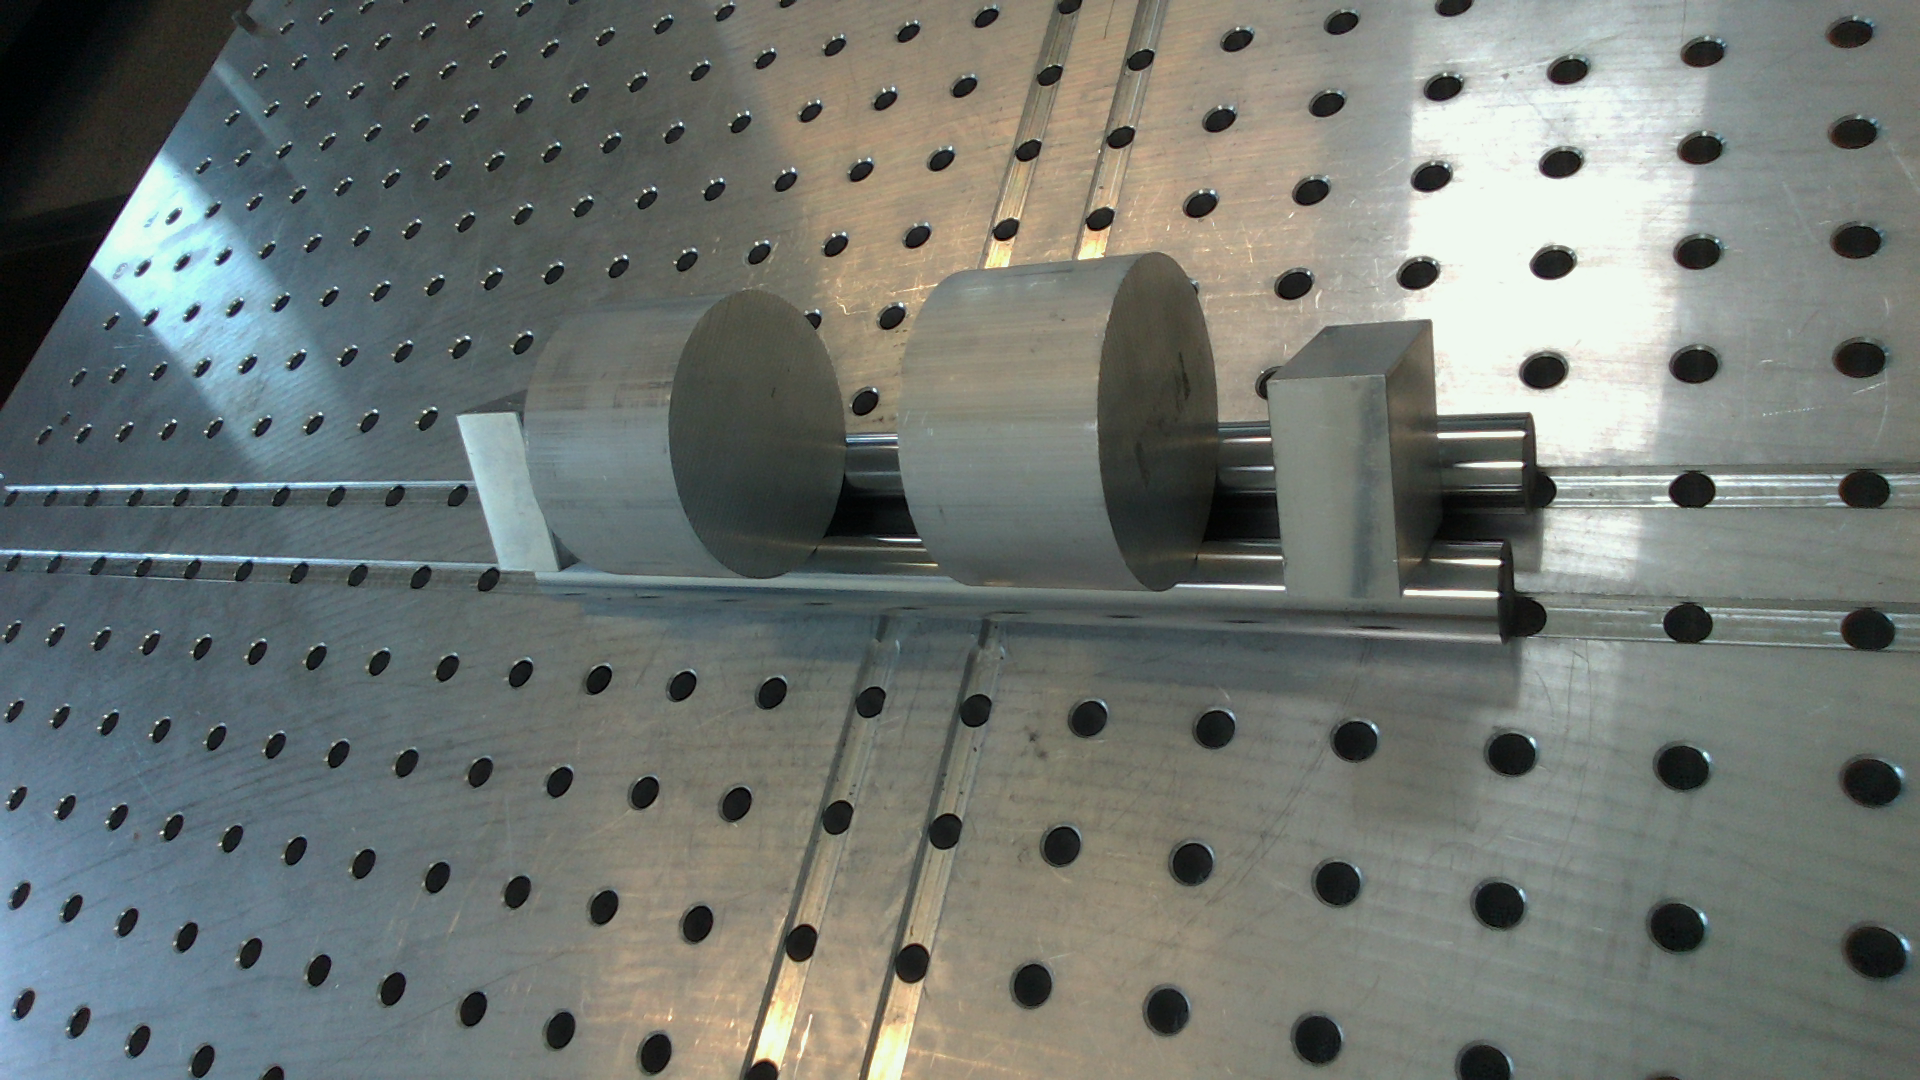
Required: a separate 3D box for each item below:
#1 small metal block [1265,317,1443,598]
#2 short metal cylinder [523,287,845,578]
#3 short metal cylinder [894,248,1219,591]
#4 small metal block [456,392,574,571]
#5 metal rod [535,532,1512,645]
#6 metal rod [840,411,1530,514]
[{"bbox_3d":[0.091,-0.020,0.314,0.025,0.050,0.050,0,21,29],"label":"small metal block"},{"bbox_3d":[-0.076,-0.030,0.392,0.050,0.080,0.080,1,62,29],"label":"short metal cylinder"},{"bbox_3d":[0.026,-0.028,0.336,0.050,0.080,0.080,1,62,29],"label":"short metal cylinder"},{"bbox_3d":[-0.124,-0.023,0.433,0.025,0.050,0.050,1,20,29],"label":"small metal block"},{"bbox_3d":[-0.004,0.010,0.393,0.299,0.025,0.025,1,62,29],"label":"metal rod"},{"bbox_3d":[0.007,-0.021,0.406,0.299,0.025,0.025,1,62,29],"label":"metal rod"}]
